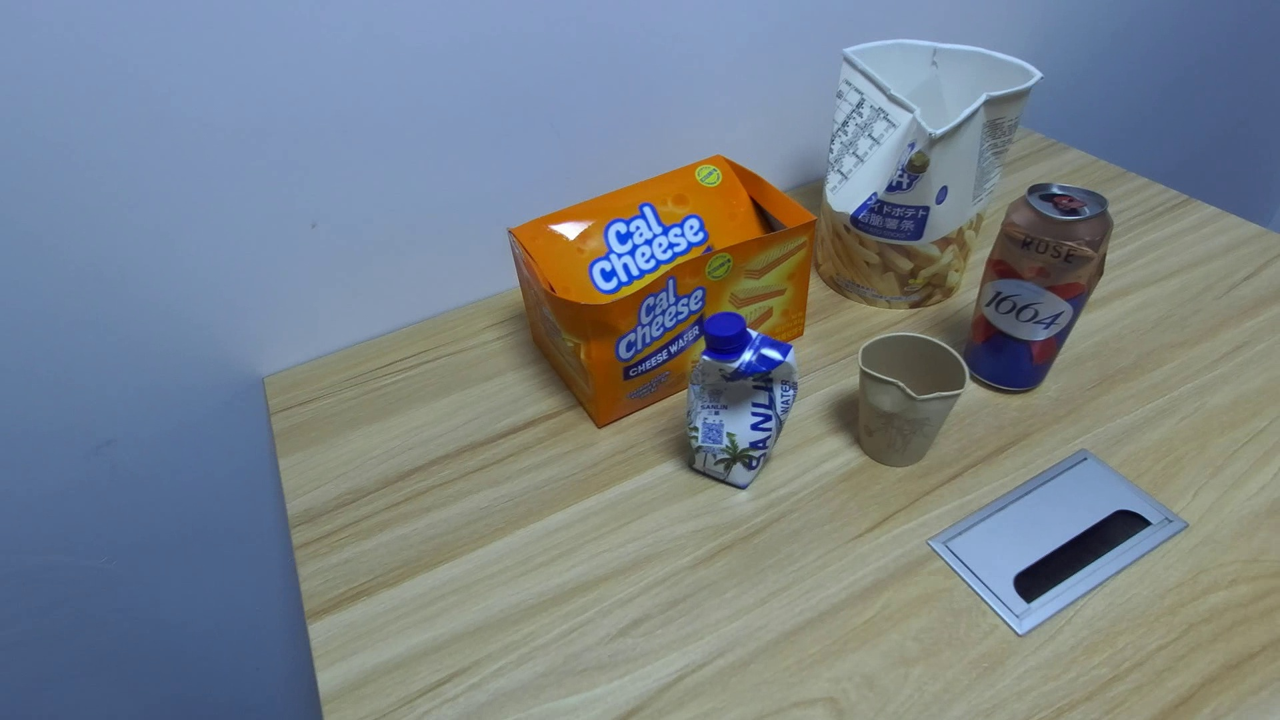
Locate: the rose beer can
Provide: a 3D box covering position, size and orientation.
[{"bbox_3d":[0.312,-0.054,0.560,0.065,0.167,0.075,-30,45,-28],"label":"rose beer can"}]

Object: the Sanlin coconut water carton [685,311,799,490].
[{"bbox_3d":[0.070,0.033,0.501,0.068,0.145,0.057,24,57,19],"label":"Sanlin coconut water carton"}]

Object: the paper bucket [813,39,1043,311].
[{"bbox_3d":[0.244,-0.173,0.672,0.169,0.202,0.162,-29,46,-27],"label":"paper bucket"}]

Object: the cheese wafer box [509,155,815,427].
[{"bbox_3d":[0.020,-0.064,0.624,0.231,0.132,0.151,-23,46,-20],"label":"cheese wafer box"}]

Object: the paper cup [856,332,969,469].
[{"bbox_3d":[0.197,0.033,0.532,0.073,0.081,0.068,-9,42,-7],"label":"paper cup"}]
